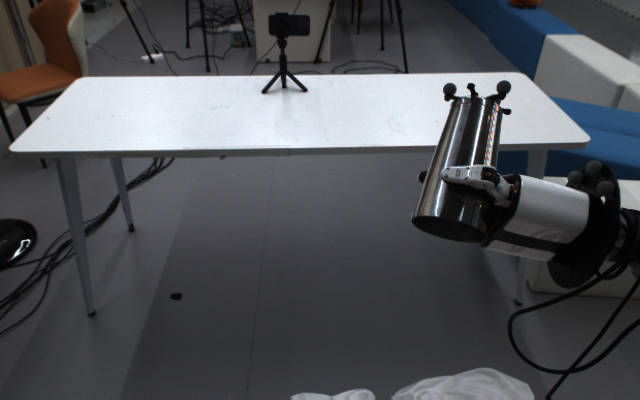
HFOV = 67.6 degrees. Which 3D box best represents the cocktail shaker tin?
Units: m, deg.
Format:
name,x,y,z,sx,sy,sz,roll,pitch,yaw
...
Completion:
name,x,y,z,sx,sy,sz,roll,pitch,yaw
cocktail shaker tin,0.182,-0.041,0.614,0.093,0.093,0.170,13,74,15
